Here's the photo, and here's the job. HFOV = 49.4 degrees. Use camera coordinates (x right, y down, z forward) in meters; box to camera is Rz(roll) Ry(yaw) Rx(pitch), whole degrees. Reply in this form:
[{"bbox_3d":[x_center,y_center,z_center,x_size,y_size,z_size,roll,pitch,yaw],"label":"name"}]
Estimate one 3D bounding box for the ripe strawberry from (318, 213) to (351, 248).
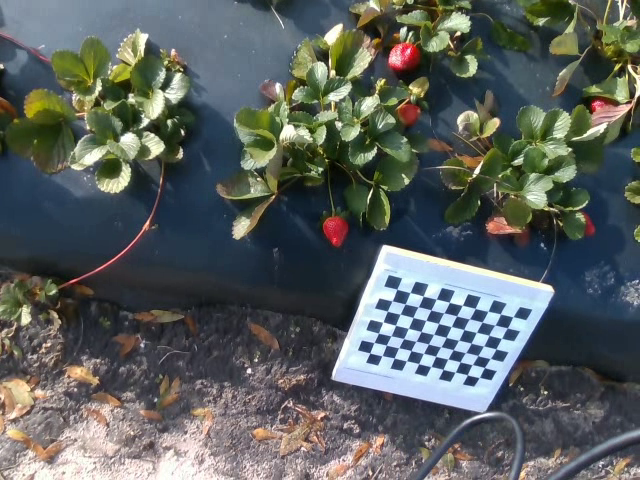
[{"bbox_3d":[0.024,-0.009,0.885,0.041,0.047,0.041,-7,-27,13],"label":"ripe strawberry"}]
